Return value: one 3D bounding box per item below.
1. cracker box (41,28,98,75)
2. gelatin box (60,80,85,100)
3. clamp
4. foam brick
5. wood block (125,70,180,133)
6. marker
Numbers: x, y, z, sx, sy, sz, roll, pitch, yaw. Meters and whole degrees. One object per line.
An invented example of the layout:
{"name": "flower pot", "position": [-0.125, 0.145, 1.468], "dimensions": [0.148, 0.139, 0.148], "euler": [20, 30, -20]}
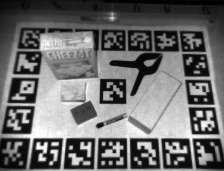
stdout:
{"name": "cracker box", "position": [-0.133, -0.109, 0.747], "dimensions": [0.164, 0.214, 0.072], "euler": [-3, 71, -3]}
{"name": "gelatin box", "position": [-0.148, 0.017, 0.810], "dimensions": [0.089, 0.030, 0.073], "euler": [0, 74, -1]}
{"name": "clamp", "position": [0.107, -0.080, 0.841], "dimensions": [0.203, 0.037, 0.164], "euler": [-29, 76, -10]}
{"name": "foam brick", "position": [-0.109, 0.091, 0.773], "dimensions": [0.078, 0.051, 0.052], "euler": [-23, 75, -8]}
{"name": "wood block", "position": [0.143, 0.055, 0.774], "dimensions": [0.089, 0.091, 0.207], "euler": [34, 72, 13]}
{"name": "marker", "position": [-0.020, 0.125, 0.779], "dimensions": [0.121, 0.020, 0.019], "euler": [-18, 75, -7]}
